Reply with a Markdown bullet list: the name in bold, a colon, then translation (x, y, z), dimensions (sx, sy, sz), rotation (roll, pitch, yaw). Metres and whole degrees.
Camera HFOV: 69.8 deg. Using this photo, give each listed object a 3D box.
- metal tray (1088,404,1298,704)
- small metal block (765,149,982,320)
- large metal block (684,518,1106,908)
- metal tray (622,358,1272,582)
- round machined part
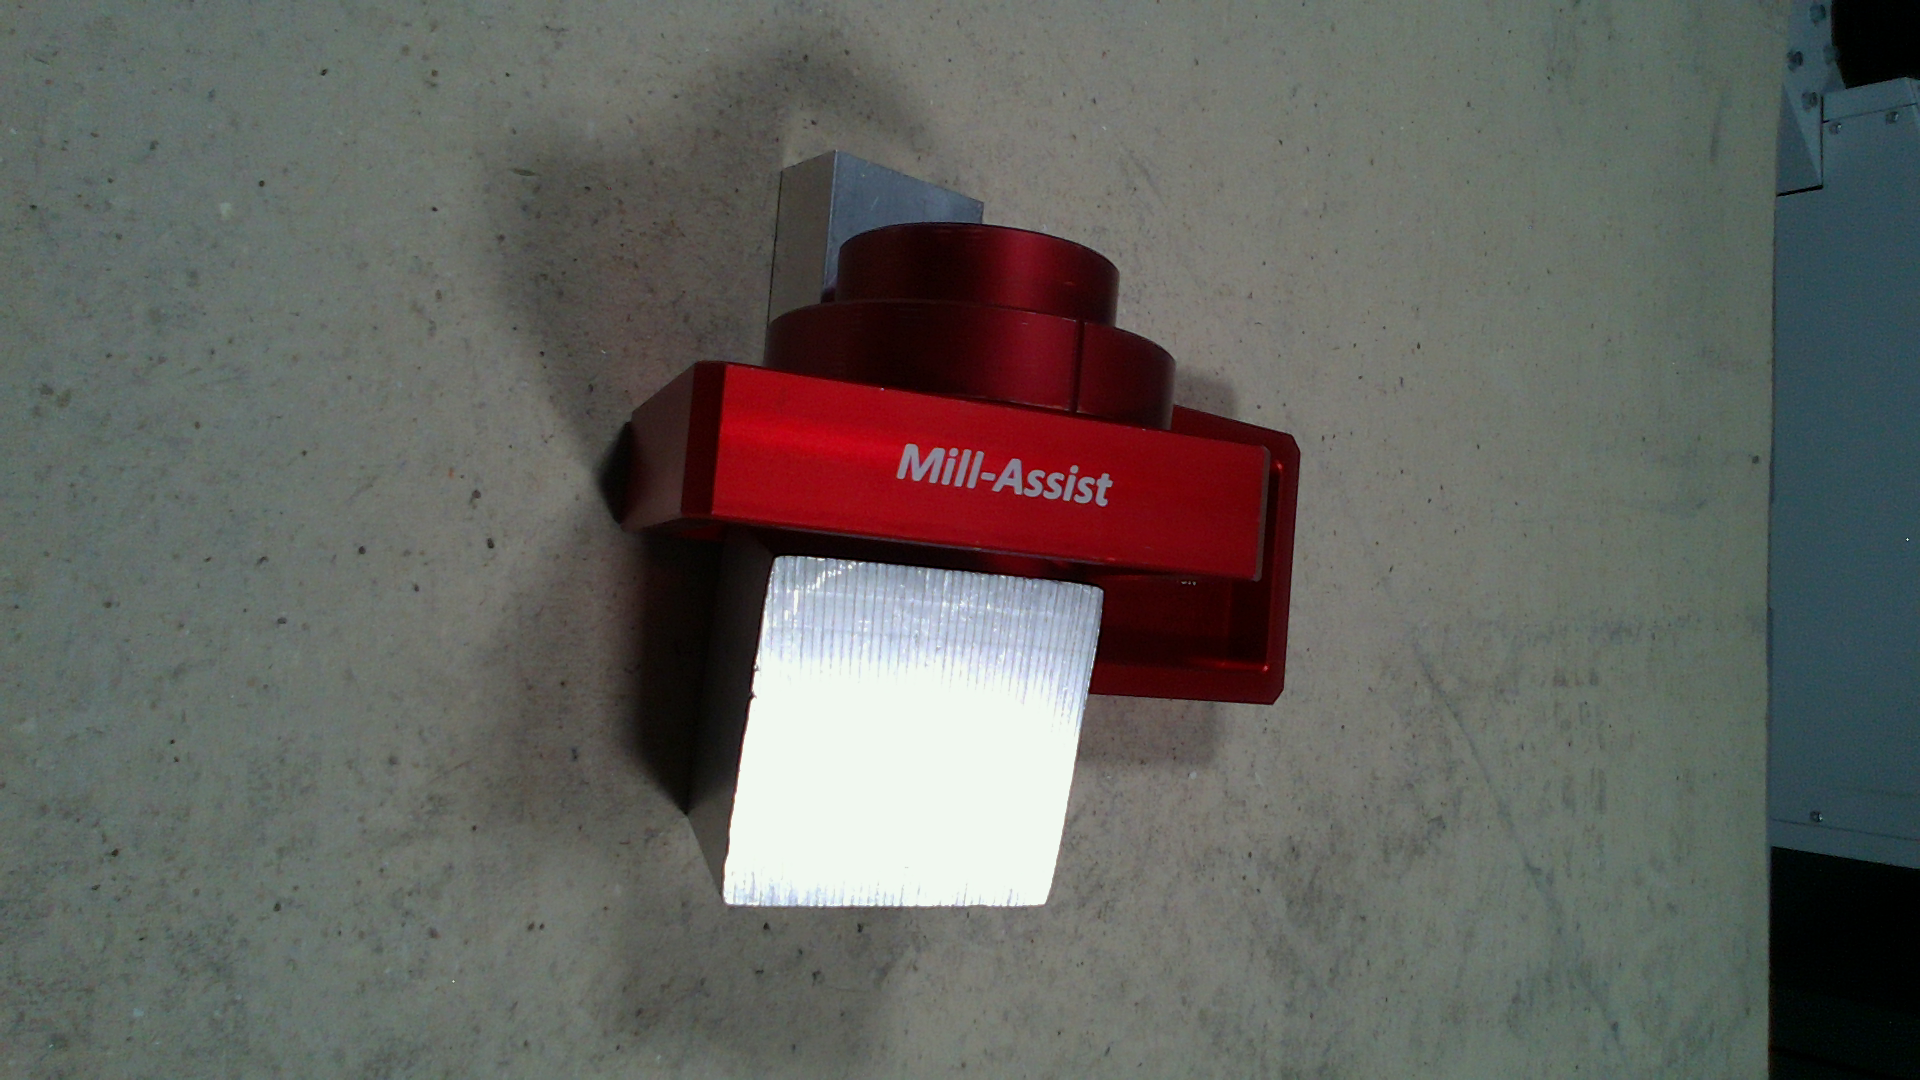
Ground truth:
- **metal tray**: translation (0.051, 0.002, 0.428), dimensions (0.131, 0.030, 0.090), rotation (8, 85, -39)
- **small metal block**: translation (-0.023, -0.071, 0.371), dimensions (0.050, 0.025, 0.050), rotation (8, 85, -39)
- **large metal block**: translation (-0.018, 0.041, 0.334), dimensions (0.080, 0.050, 0.080), rotation (6, 99, -22)
- **metal tray**: translation (-0.006, -0.012, 0.319), dimensions (0.130, 0.090, 0.030), rotation (7, 86, -21)
- **round machined part**: translation (0.003, -0.046, 0.330), dimensions (0.098, 0.098, 0.042), rotation (8, 85, -39)
